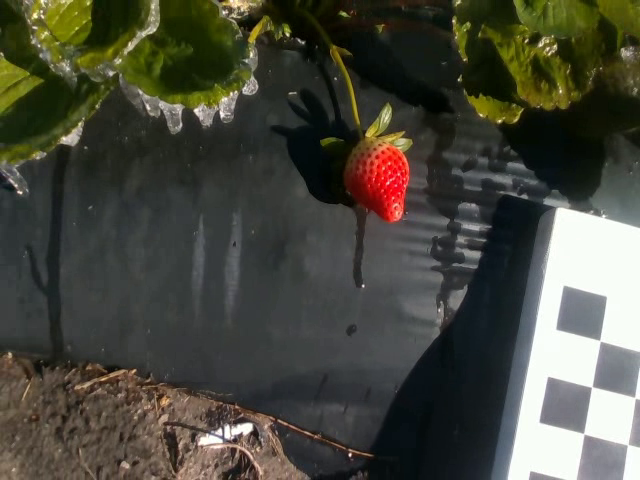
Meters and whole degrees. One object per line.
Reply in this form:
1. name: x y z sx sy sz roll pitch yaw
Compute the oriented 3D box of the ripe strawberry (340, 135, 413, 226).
1. ripe strawberry: 0.033 -0.029 0.288 0.039 0.053 0.041 -7 -25 -6
